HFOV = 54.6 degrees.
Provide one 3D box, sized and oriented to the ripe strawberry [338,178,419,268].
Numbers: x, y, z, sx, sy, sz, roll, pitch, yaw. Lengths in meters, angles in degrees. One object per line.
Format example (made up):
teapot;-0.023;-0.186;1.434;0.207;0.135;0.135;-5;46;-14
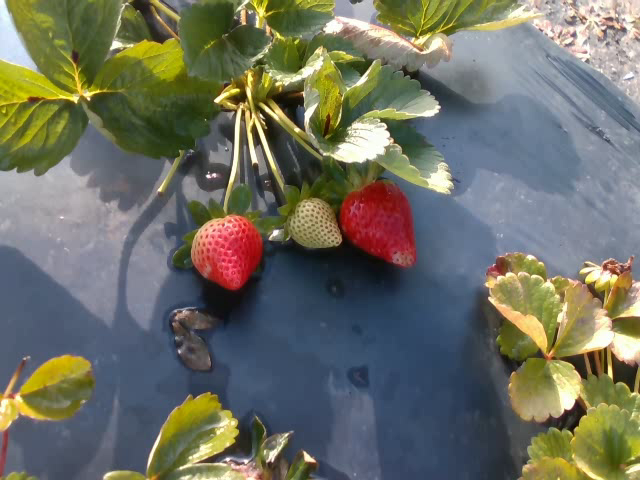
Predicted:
ripe strawberry;0.039;-0.007;0.369;0.049;0.064;0.050;-34;-15;21
